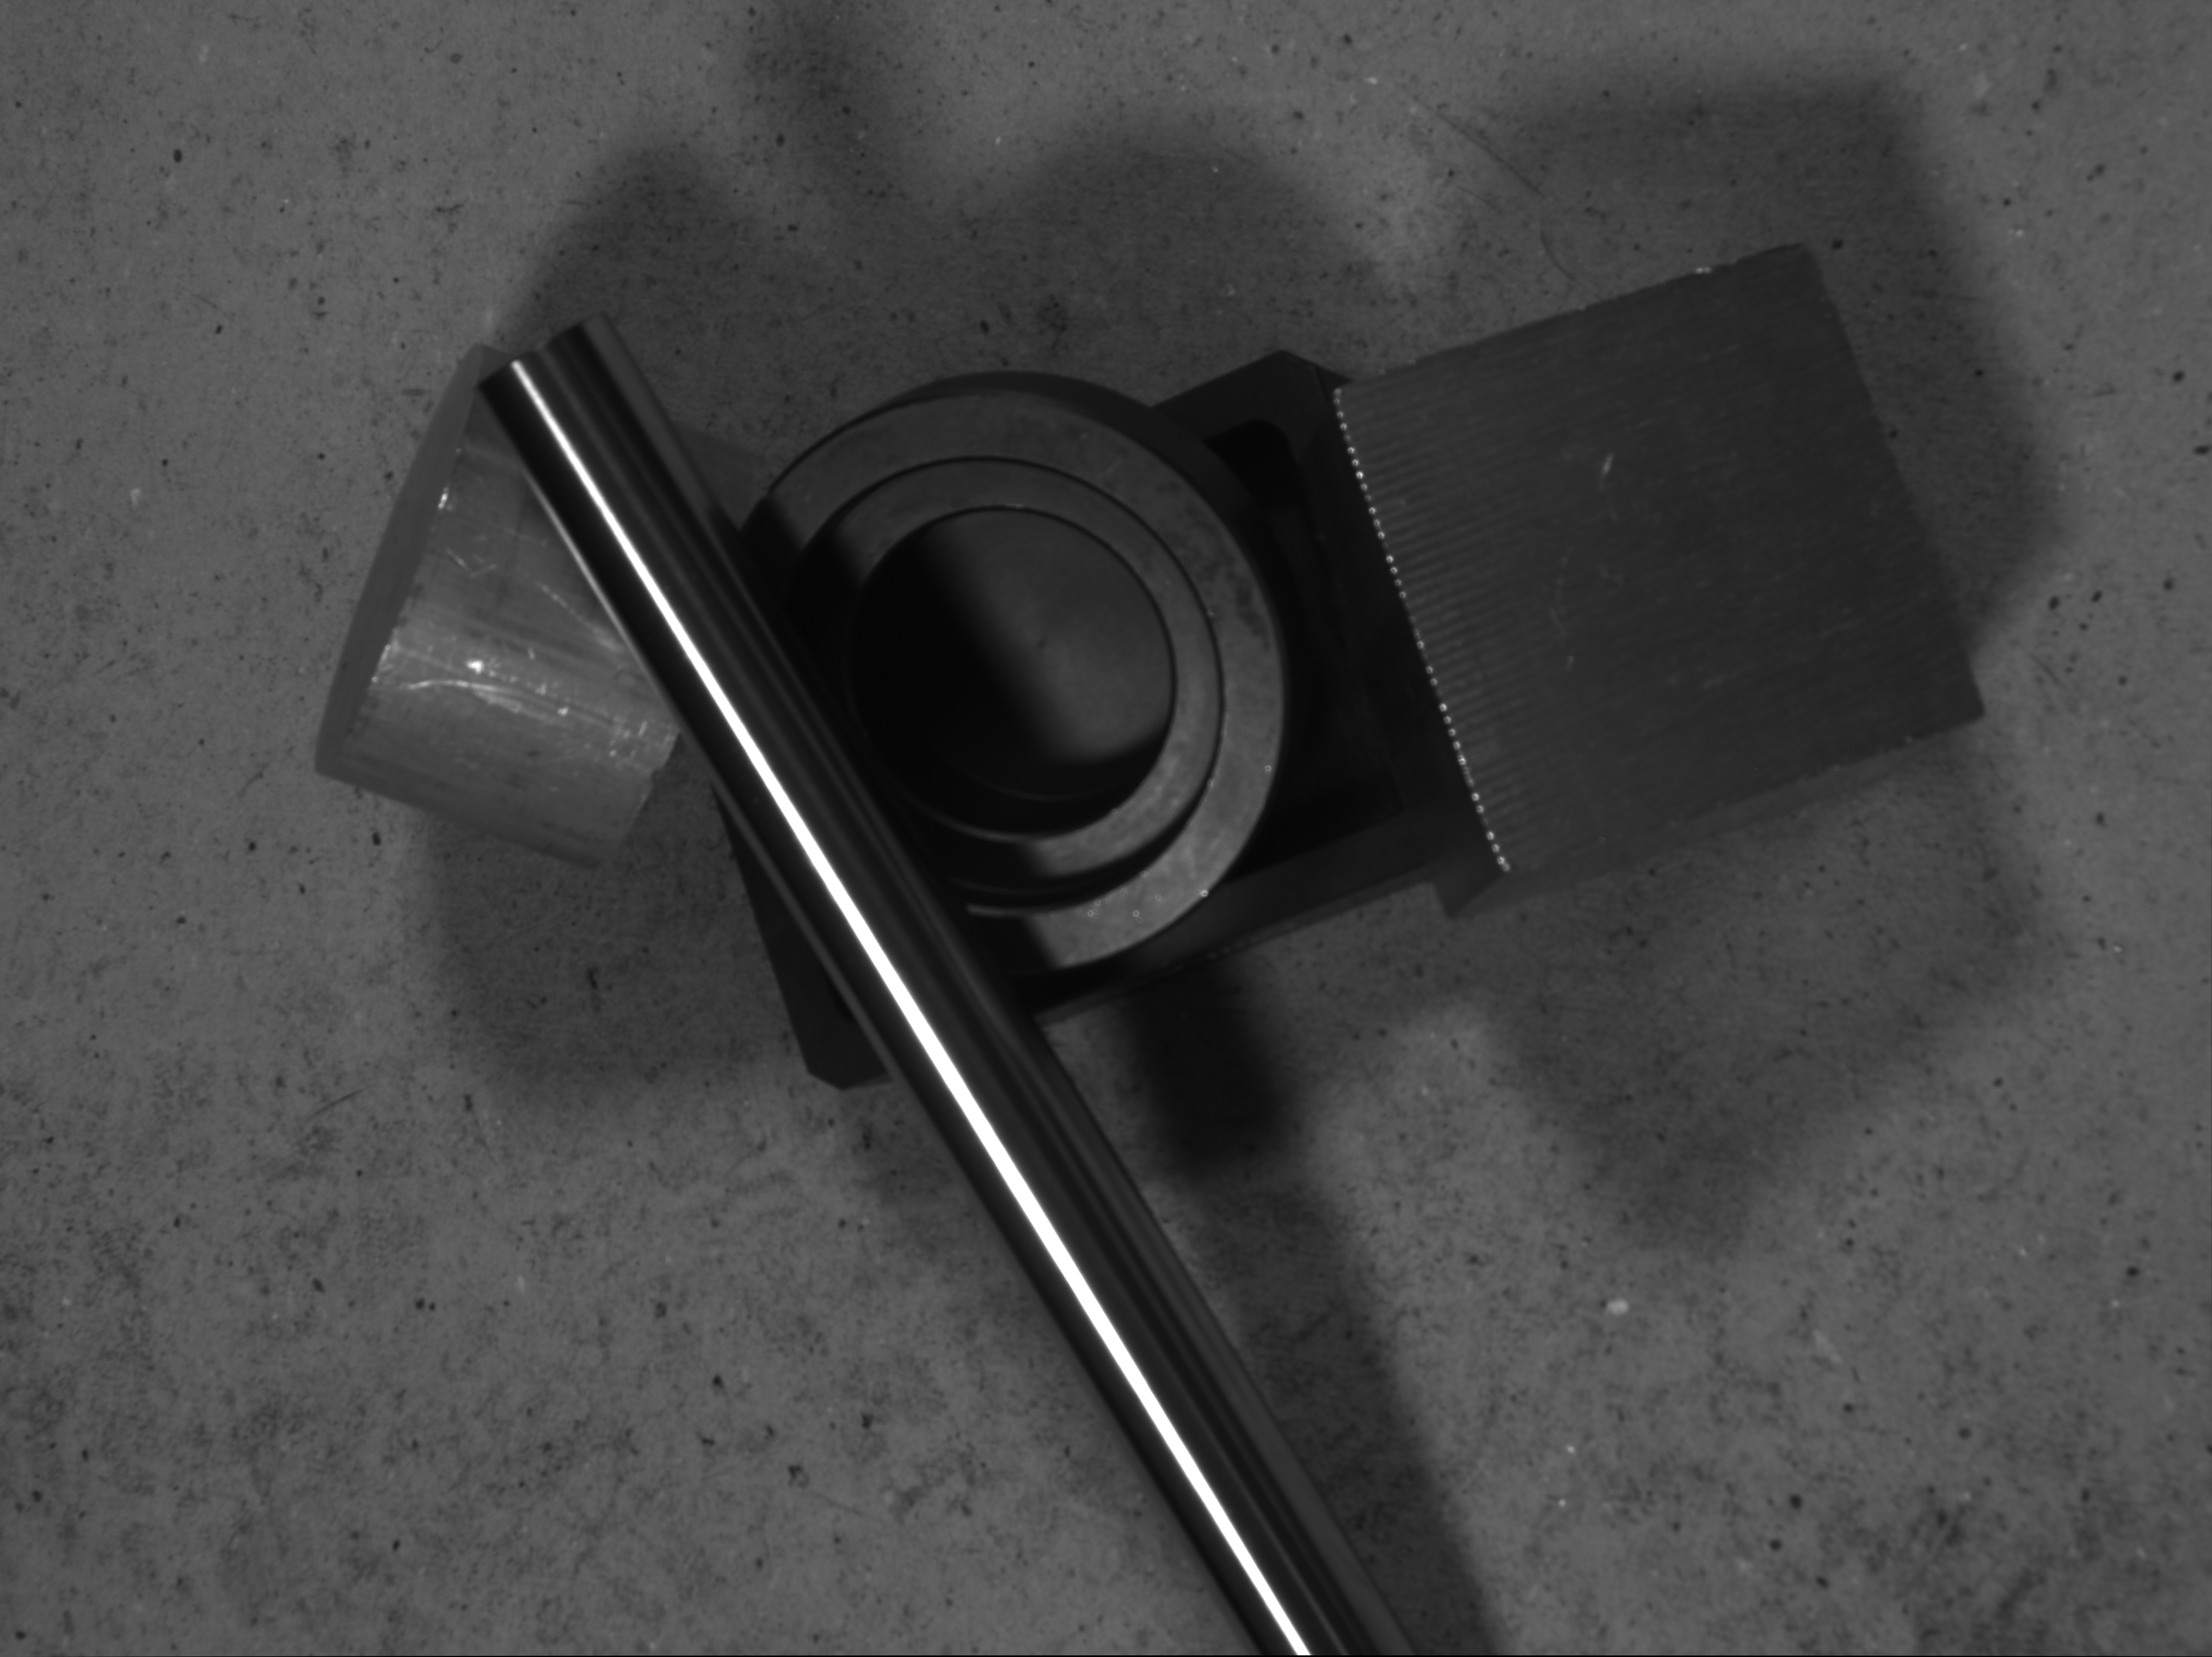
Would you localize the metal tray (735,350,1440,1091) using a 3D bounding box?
[{"bbox_3d":[-0.002,-0.017,0.642,0.130,0.030,0.090,-22,83,18],"label":"metal tray"}]

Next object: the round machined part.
[{"bbox_3d":[-0.012,-0.028,0.614,0.098,0.042,0.098,4,106,14],"label":"round machined part"}]

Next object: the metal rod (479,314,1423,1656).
[{"bbox_3d":[-0.013,0.052,0.602,0.025,0.025,0.300,-28,98,17],"label":"metal rod"}]

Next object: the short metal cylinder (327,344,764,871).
[{"bbox_3d":[-0.099,-0.038,0.644,0.050,0.080,0.080,20,98,-17],"label":"short metal cylinder"}]

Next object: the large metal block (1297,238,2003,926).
[{"bbox_3d":[0.084,-0.038,0.583,0.080,0.050,0.080,-18,83,-7],"label":"large metal block"}]
